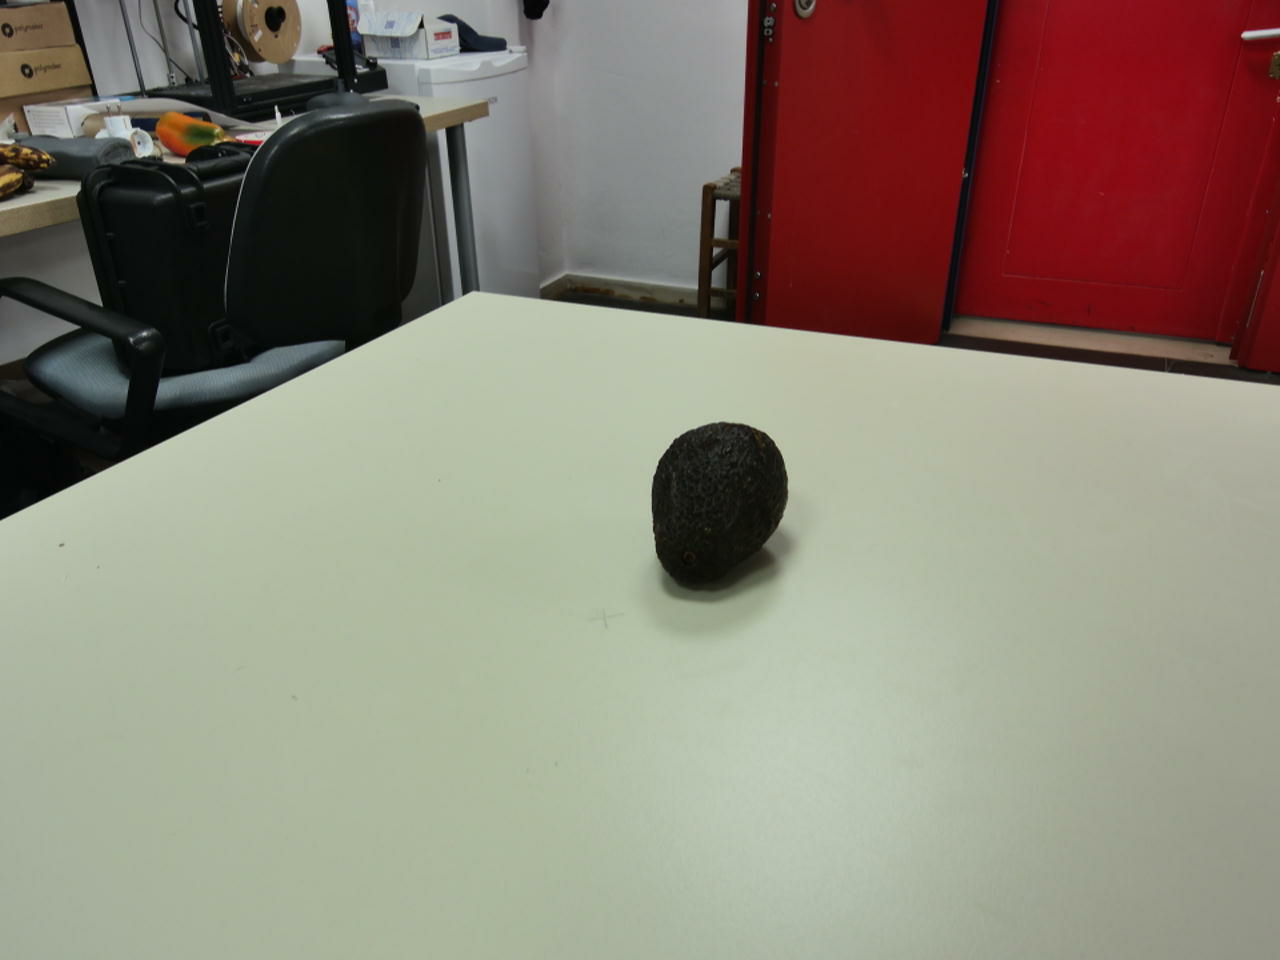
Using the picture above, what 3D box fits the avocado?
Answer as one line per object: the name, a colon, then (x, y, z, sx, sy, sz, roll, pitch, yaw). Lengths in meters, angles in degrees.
avocado: (0.038, 0.007, 0.518, 0.090, 0.069, 0.070, -20, 31, -36)
